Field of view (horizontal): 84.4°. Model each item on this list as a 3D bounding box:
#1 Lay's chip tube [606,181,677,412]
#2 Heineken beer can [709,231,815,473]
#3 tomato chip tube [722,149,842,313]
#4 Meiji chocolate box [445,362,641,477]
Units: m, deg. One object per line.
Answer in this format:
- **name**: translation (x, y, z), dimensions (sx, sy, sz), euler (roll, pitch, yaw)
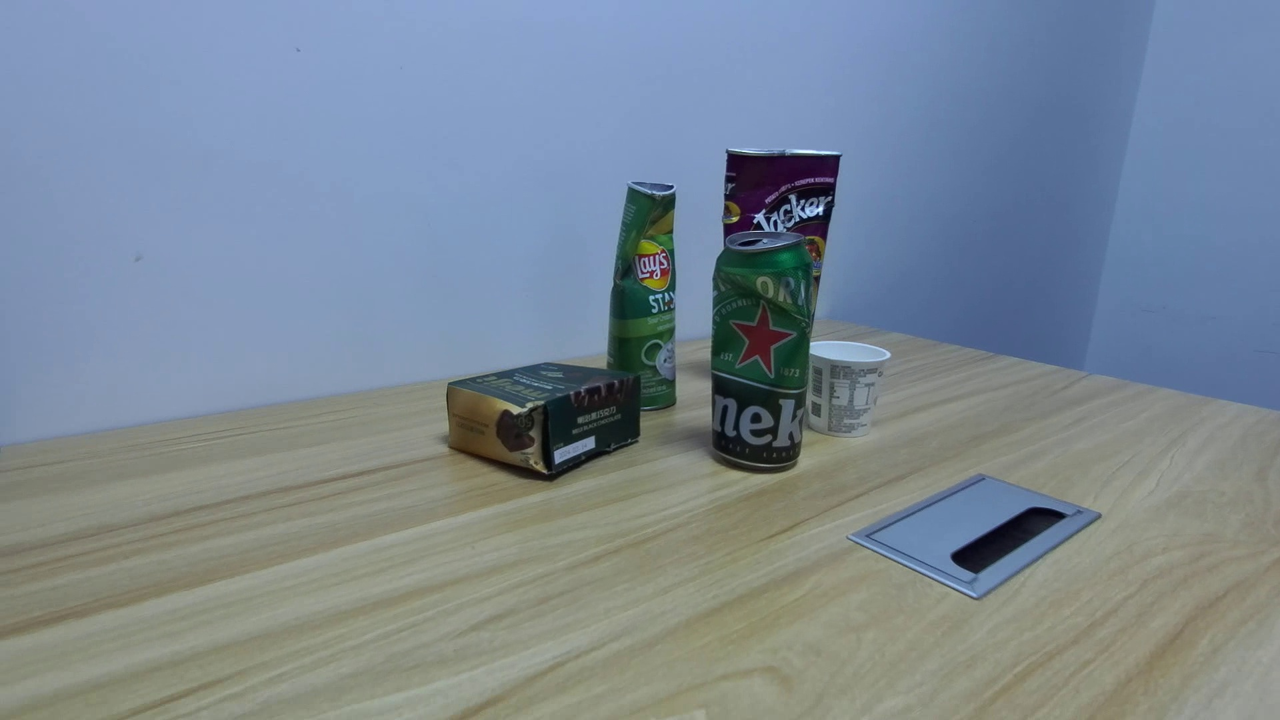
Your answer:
- **Lay's chip tube**: translation (0.004, -0.058, 0.642), dimensions (0.069, 0.201, 0.077), euler (-1, 19, -11)
- **Heineken beer can**: translation (0.087, -0.005, 0.512), dimensions (0.069, 0.168, 0.068), euler (0, 15, 1)
- **tomato chip tube**: translation (0.131, -0.084, 0.692), dimensions (0.090, 0.235, 0.078), euler (12, 19, 28)
- **Meiji chocolate box**: translation (-0.075, 0.041, 0.551), dimensions (0.115, 0.058, 0.123), euler (9, 15, 36)
